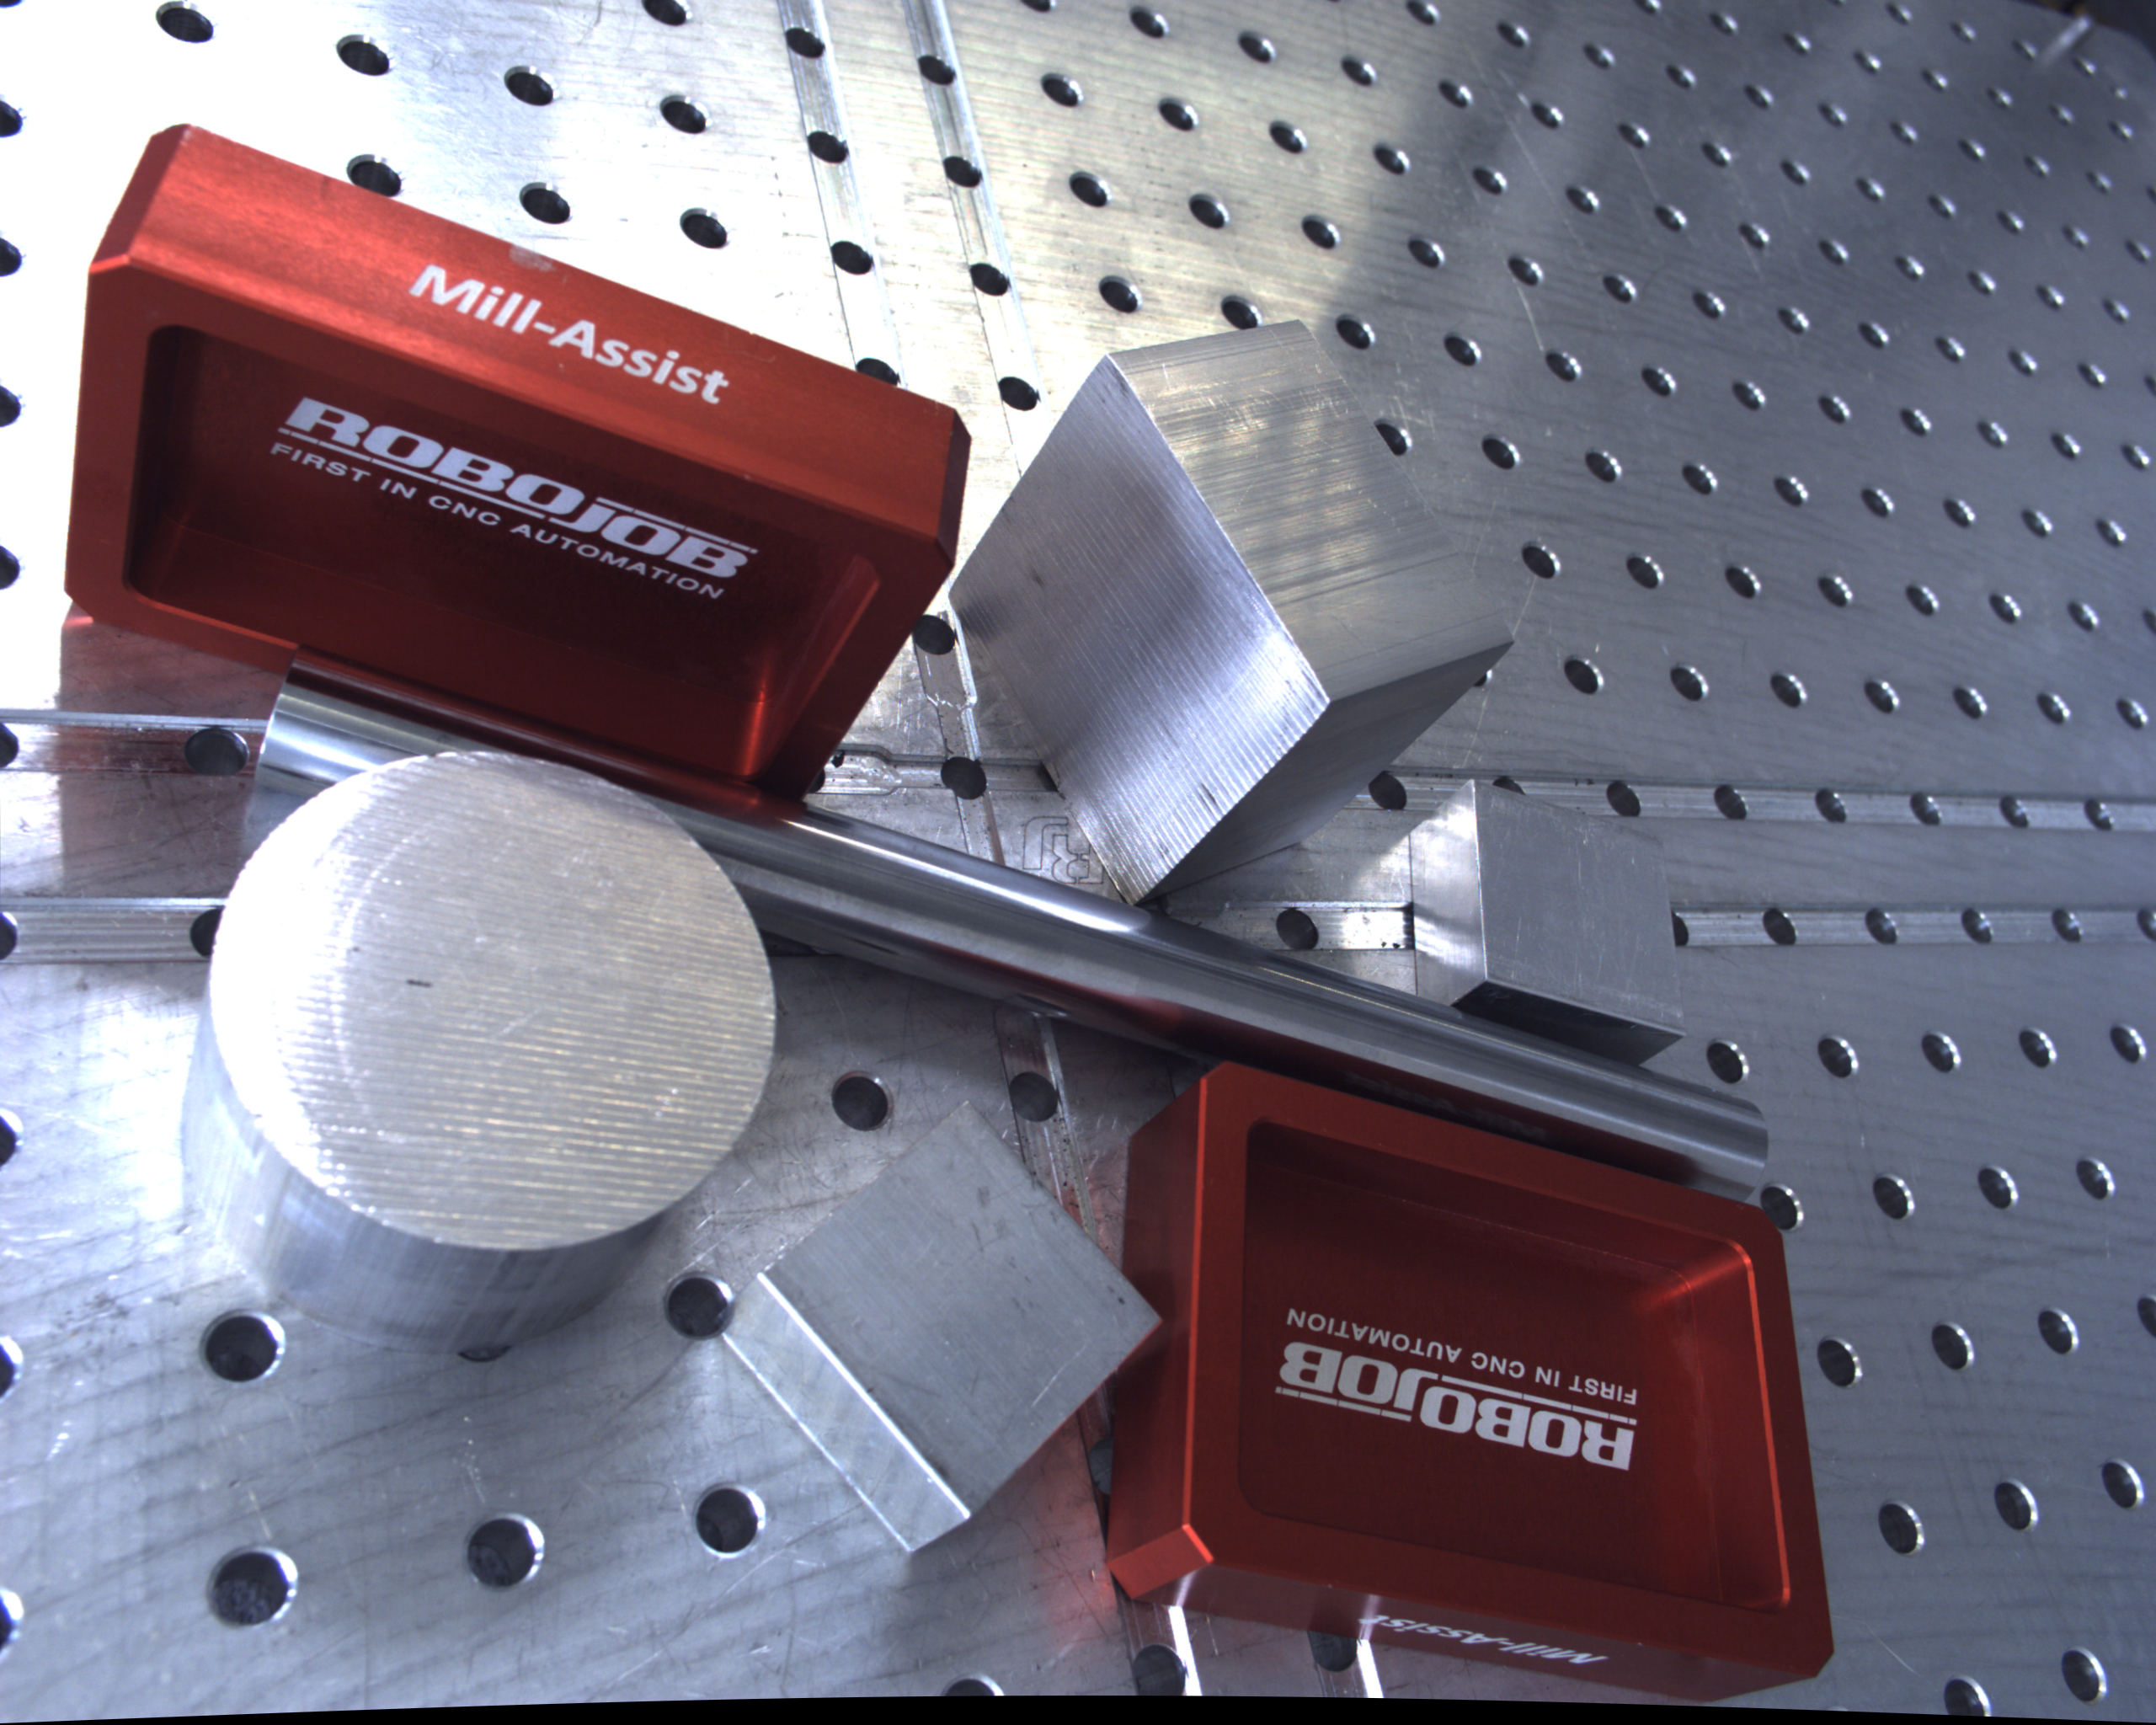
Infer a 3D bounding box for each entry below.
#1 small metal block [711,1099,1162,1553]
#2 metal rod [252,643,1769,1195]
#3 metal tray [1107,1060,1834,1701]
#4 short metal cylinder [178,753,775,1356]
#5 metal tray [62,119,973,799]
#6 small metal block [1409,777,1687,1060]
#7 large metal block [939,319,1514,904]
[{"bbox_3d":[-0.023,0.077,0.349,0.050,0.025,0.050,48,51,5],"label":"small metal block"},{"bbox_3d":[0.002,0.019,0.397,0.302,0.025,0.025,18,55,-18],"label":"metal rod"},{"bbox_3d":[0.073,0.096,0.384,0.131,0.030,0.090,17,55,-19],"label":"metal tray"},{"bbox_3d":[-0.093,0.030,0.322,0.081,0.050,0.080,14,56,-21],"label":"short metal cylinder"},{"bbox_3d":[-0.095,-0.059,0.350,0.131,0.090,0.030,17,55,-19],"label":"metal tray"},{"bbox_3d":[0.101,0.015,0.453,0.050,0.025,0.050,16,55,-19],"label":"small metal block"},{"bbox_3d":[0.026,-0.048,0.418,0.050,0.080,0.080,-20,73,-36],"label":"large metal block"}]
